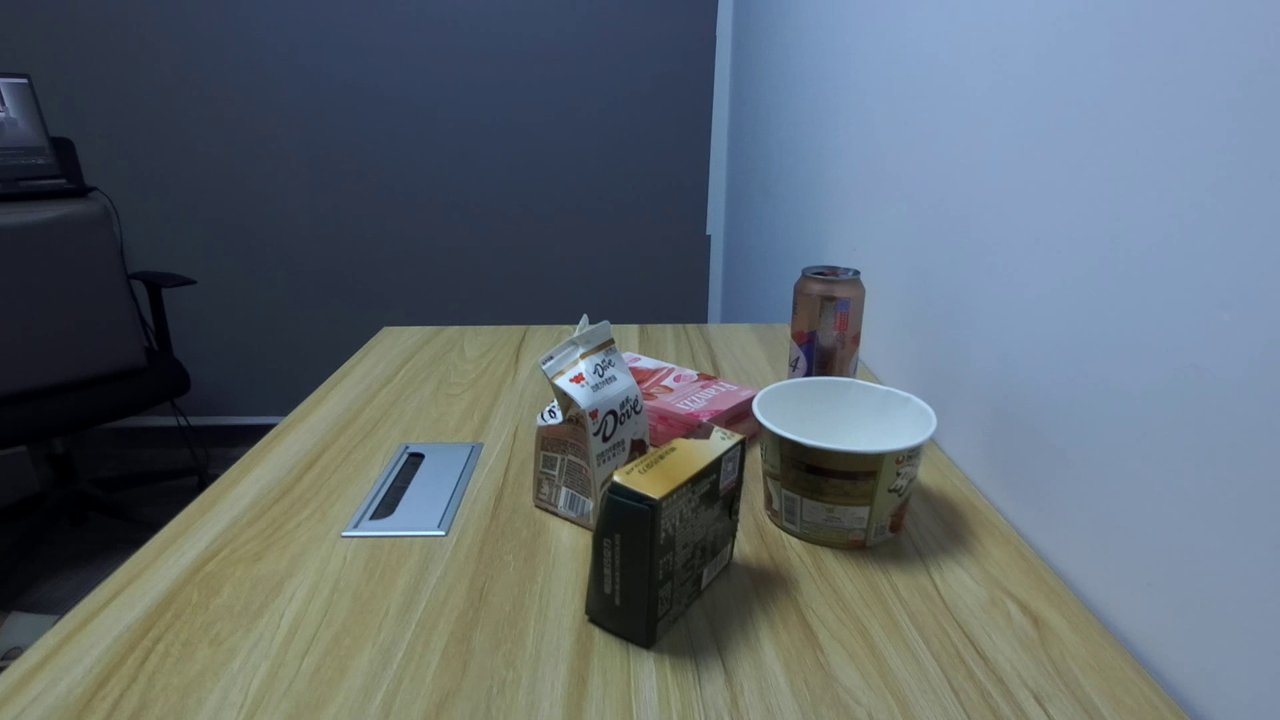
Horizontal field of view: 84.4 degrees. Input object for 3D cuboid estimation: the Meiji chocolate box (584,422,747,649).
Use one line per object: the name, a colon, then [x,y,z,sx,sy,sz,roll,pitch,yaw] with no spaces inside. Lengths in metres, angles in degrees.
Meiji chocolate box: [0.020,0.109,0.458,0.051,0.117,0.118,21,28,29]

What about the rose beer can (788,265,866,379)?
rose beer can: [0.178,-0.003,0.685,0.068,0.169,0.068,0,19,0]

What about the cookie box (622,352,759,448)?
cookie box: [0.020,0.044,0.726,0.186,0.049,0.105,17,25,39]

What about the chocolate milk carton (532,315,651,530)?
chocolate milk carton: [-0.042,0.045,0.569,0.073,0.155,0.076,12,25,34]

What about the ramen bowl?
ramen bowl: [0.156,0.080,0.558,0.140,0.095,0.140,-1,20,1]
